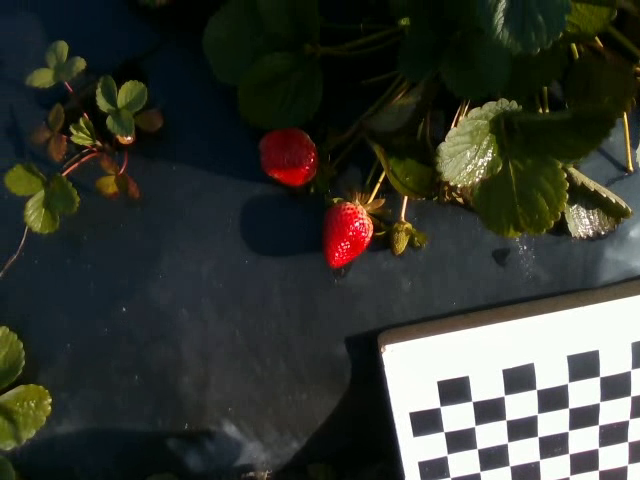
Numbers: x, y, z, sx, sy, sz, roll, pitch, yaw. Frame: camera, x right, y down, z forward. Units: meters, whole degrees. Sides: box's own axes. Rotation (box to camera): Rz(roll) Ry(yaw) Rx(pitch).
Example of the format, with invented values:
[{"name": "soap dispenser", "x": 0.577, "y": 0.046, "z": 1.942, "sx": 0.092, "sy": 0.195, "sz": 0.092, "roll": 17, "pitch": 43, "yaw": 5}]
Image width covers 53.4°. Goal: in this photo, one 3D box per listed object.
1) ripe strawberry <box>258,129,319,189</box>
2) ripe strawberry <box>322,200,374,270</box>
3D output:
[{"name": "ripe strawberry", "x": -0.022, "y": -0.060, "z": 0.462, "sx": 0.054, "sy": 0.048, "sz": 0.039, "roll": -4, "pitch": 23, "yaw": -28}, {"name": "ripe strawberry", "x": 0.017, "y": -0.003, "z": 0.449, "sx": 0.043, "sy": 0.053, "sz": 0.038, "roll": 31, "pitch": -24, "yaw": -15}]
